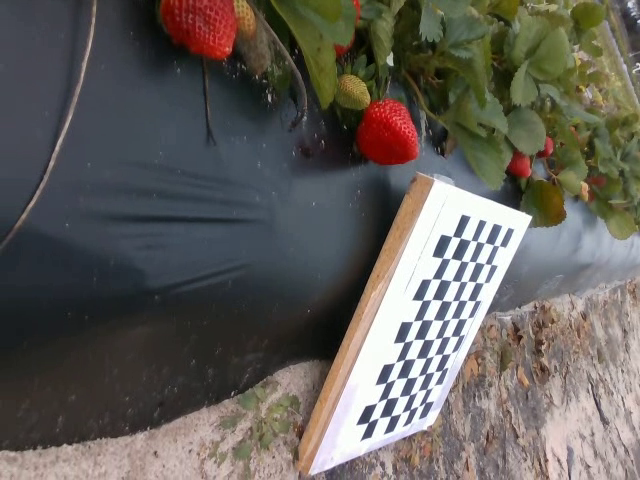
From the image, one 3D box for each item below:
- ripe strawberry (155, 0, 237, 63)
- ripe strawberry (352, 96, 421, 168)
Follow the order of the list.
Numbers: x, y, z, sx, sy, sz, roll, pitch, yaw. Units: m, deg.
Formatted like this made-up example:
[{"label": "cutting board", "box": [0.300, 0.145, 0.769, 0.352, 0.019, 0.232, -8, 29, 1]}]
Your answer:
[{"label": "ripe strawberry", "box": [-0.057, -0.115, 0.309, 0.043, 0.052, 0.041, -15, -10, -42]}, {"label": "ripe strawberry", "box": [0.059, -0.079, 0.467, 0.057, 0.056, 0.065, -23, 45, -19]}]
